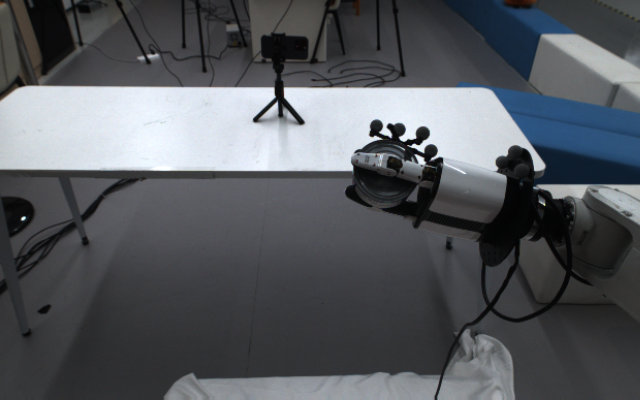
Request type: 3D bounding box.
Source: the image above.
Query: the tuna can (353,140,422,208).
[{"bbox_3d":[0.085,-0.035,0.634,0.085,0.034,0.085,0,72,0],"label":"tuna can"}]
